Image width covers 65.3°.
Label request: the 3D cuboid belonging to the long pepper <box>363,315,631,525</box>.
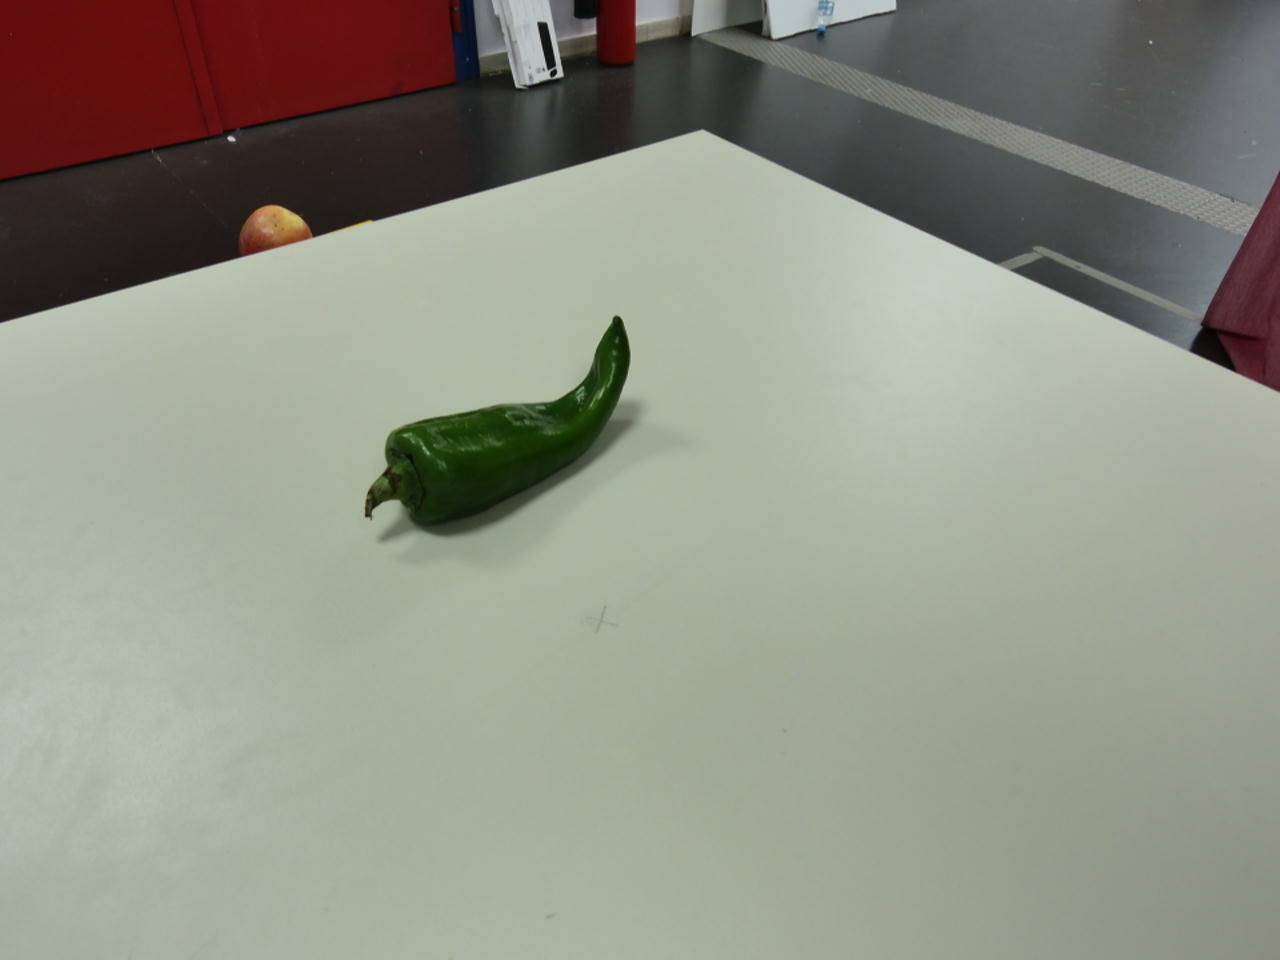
[{"bbox_3d":[-0.068,-0.028,0.524,0.175,0.065,0.058,-27,45,-31],"label":"long pepper"}]
